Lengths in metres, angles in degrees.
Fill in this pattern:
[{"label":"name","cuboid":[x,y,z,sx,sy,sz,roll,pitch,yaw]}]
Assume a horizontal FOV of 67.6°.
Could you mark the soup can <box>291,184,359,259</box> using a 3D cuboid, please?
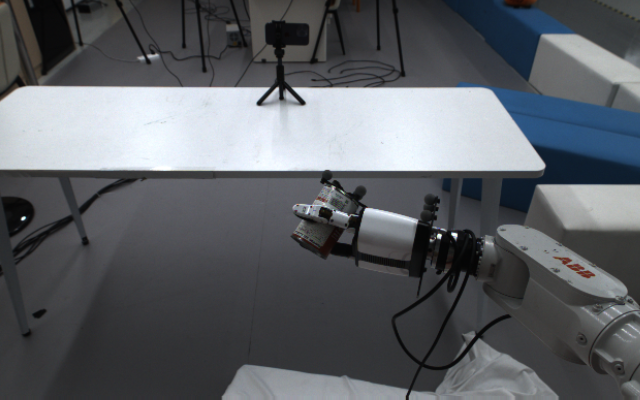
[{"label":"soup can","cuboid":[0.009,0.036,0.775,0.067,0.067,0.101,27,78,31]}]
